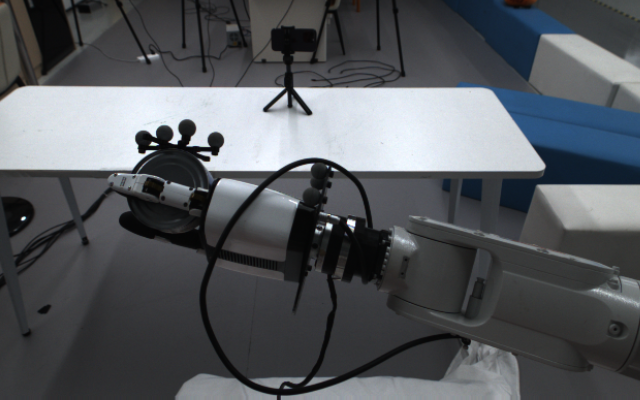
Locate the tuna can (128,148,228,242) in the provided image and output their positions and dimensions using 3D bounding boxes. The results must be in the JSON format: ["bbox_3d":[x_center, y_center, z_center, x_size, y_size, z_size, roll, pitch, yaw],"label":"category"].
[{"bbox_3d":[-0.153,-0.008,0.509,0.085,0.034,0.085,-1,77,3],"label":"tuna can"}]
